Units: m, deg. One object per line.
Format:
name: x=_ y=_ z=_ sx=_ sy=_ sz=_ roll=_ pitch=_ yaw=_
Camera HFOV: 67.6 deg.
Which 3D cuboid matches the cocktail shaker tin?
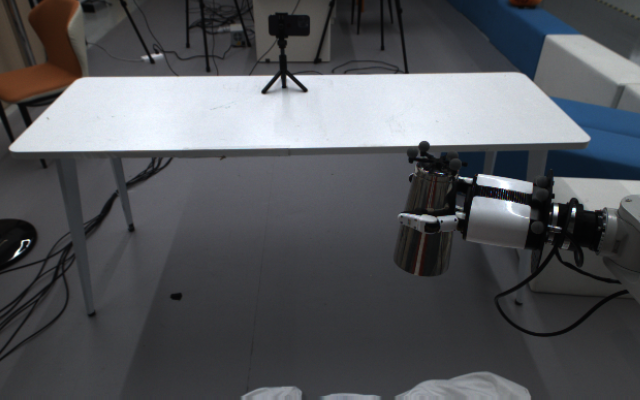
cocktail shaker tin: x=0.174 y=0.024 z=0.772 sx=0.093 sy=0.170 sz=0.093 roll=3 pitch=26 yaw=-1
